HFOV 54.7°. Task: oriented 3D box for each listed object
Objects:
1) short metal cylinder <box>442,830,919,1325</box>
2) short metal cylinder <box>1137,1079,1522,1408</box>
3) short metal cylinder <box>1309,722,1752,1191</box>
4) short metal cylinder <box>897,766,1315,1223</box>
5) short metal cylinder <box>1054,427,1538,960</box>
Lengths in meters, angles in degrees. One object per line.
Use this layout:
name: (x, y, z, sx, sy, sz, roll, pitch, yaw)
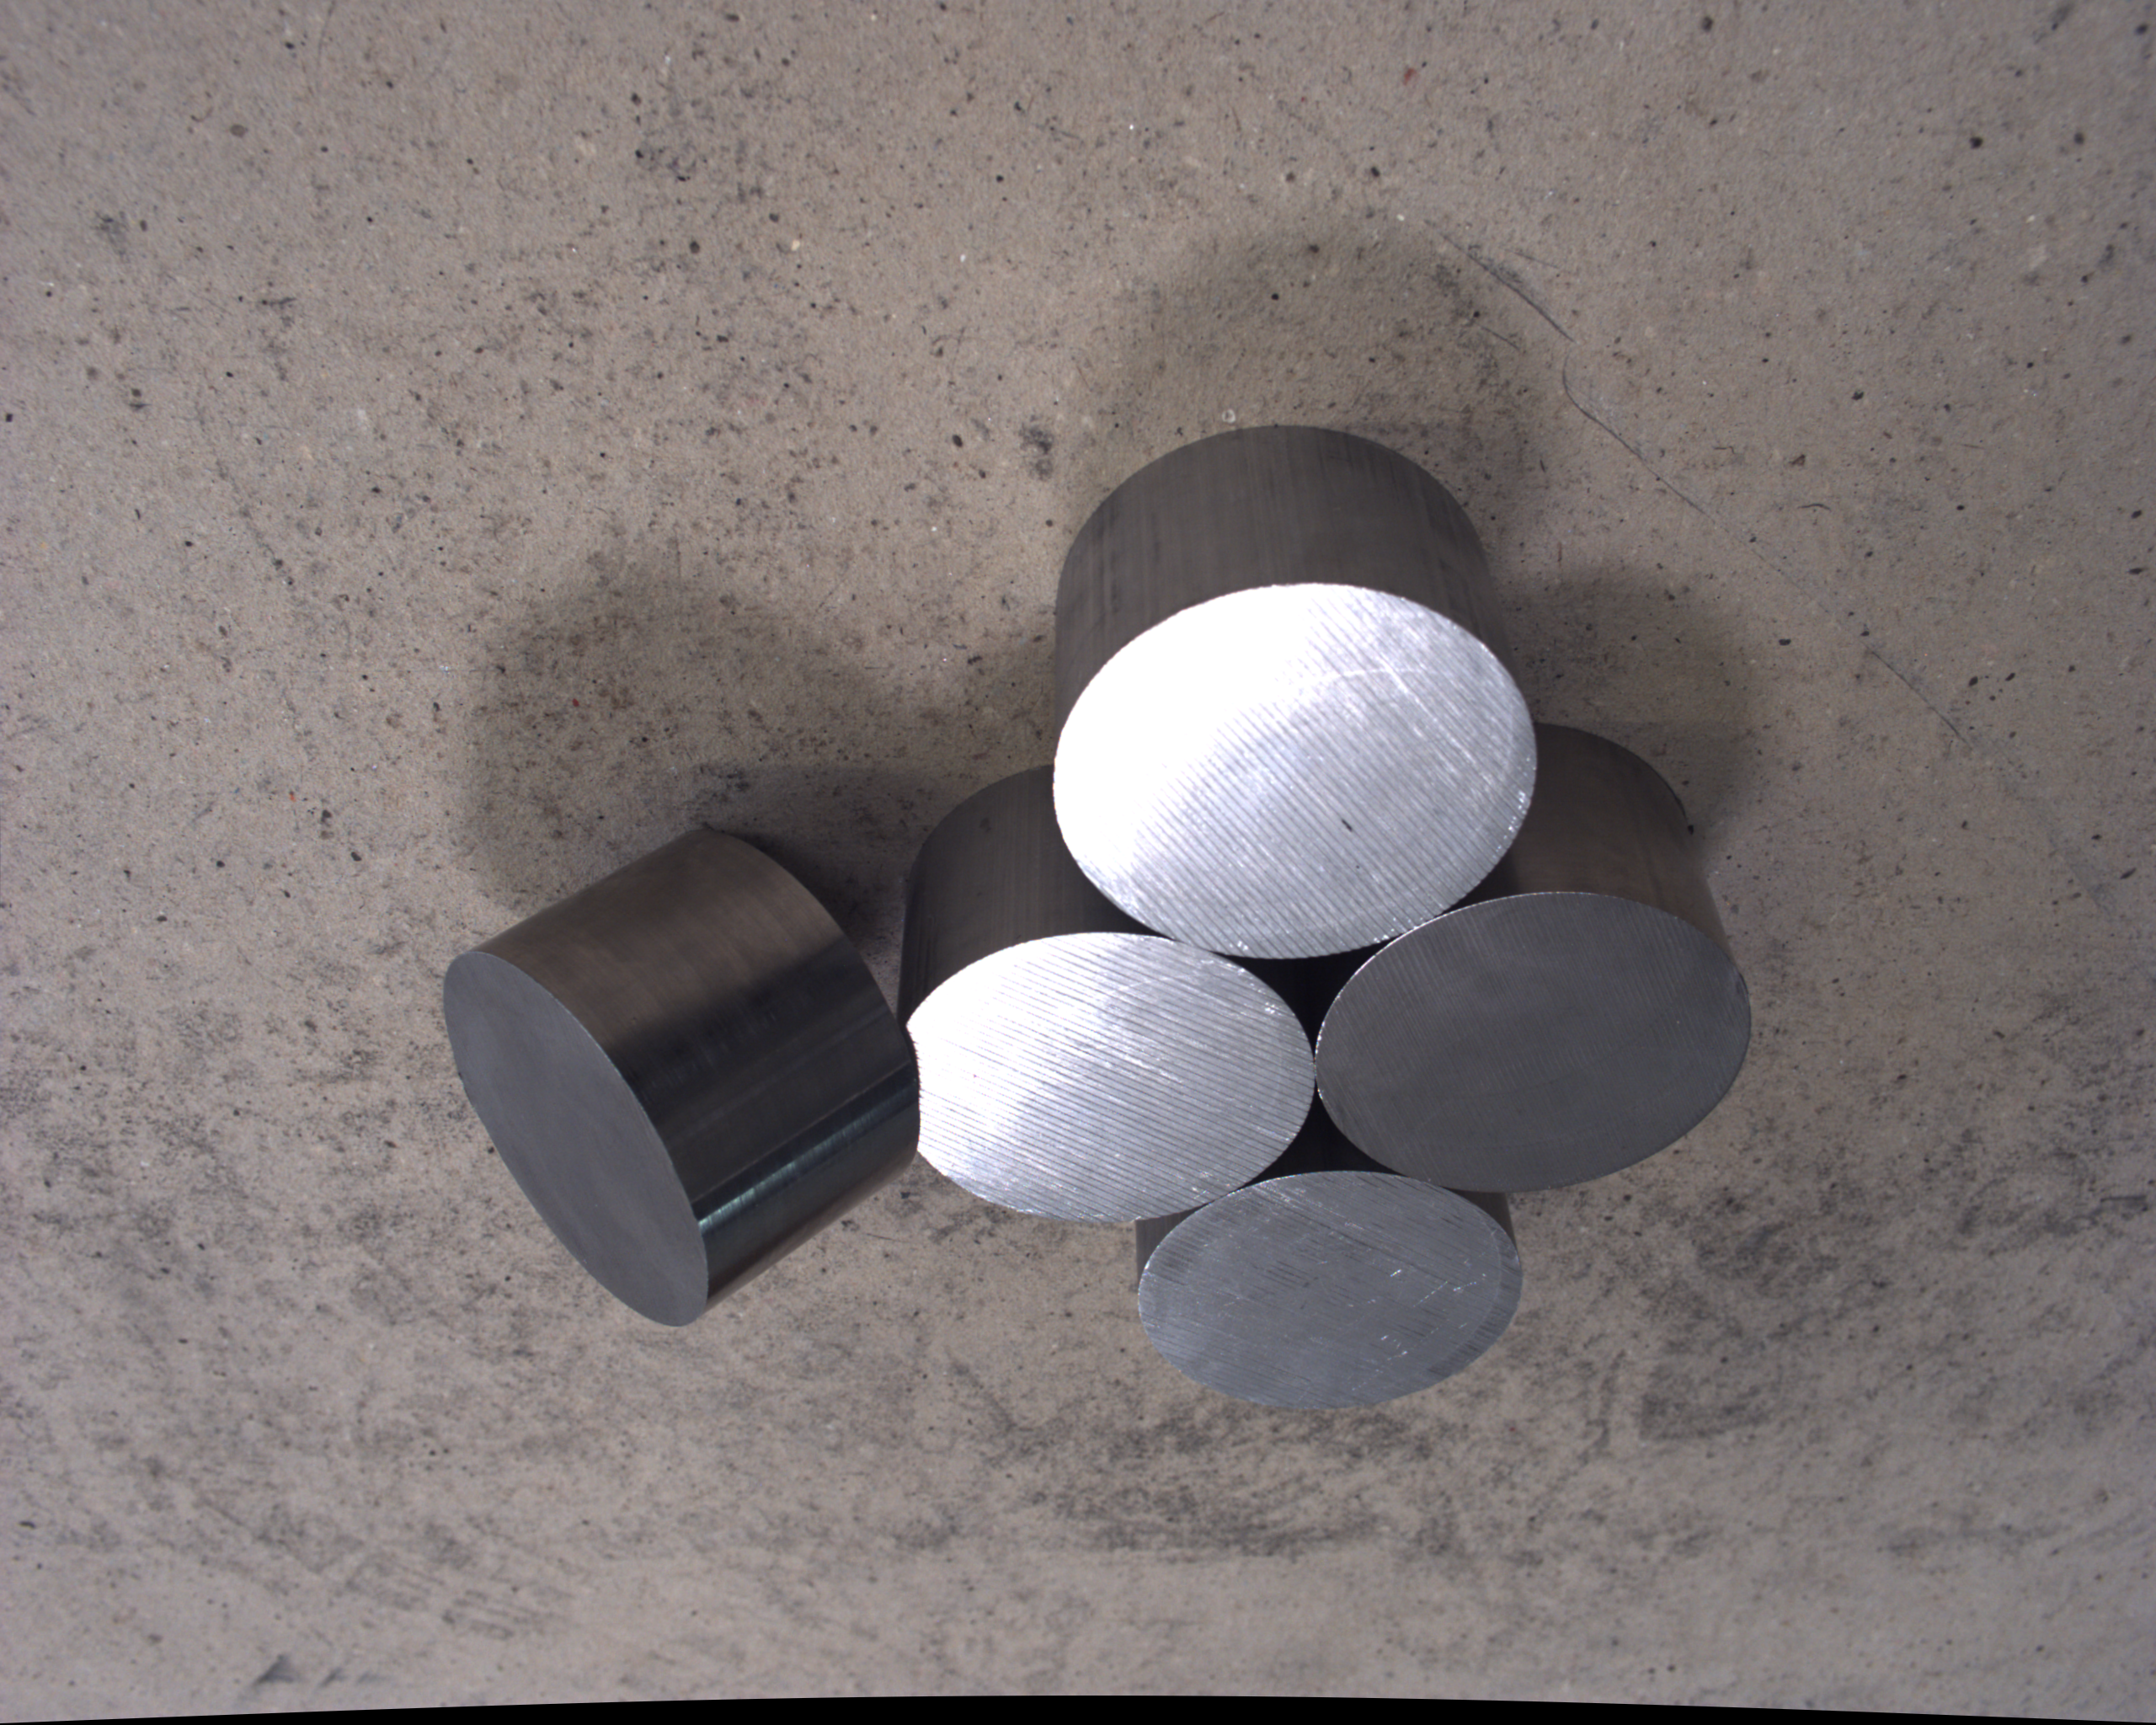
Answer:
short metal cylinder: (-0.076, 0.040, 0.399, 0.080, 0.050, 0.079, 31, 138, 33)
short metal cylinder: (0.053, 0.075, 0.456, 0.081, 0.050, 0.079, 0, 130, 0)
short metal cylinder: (0.085, 0.019, 0.409, 0.081, 0.050, 0.079, 0, 130, 0)
short metal cylinder: (0.005, 0.026, 0.415, 0.081, 0.050, 0.079, 0, 130, 0)
short metal cylinder: (0.036, -0.029, 0.368, 0.081, 0.050, 0.079, 0, 130, 0)
